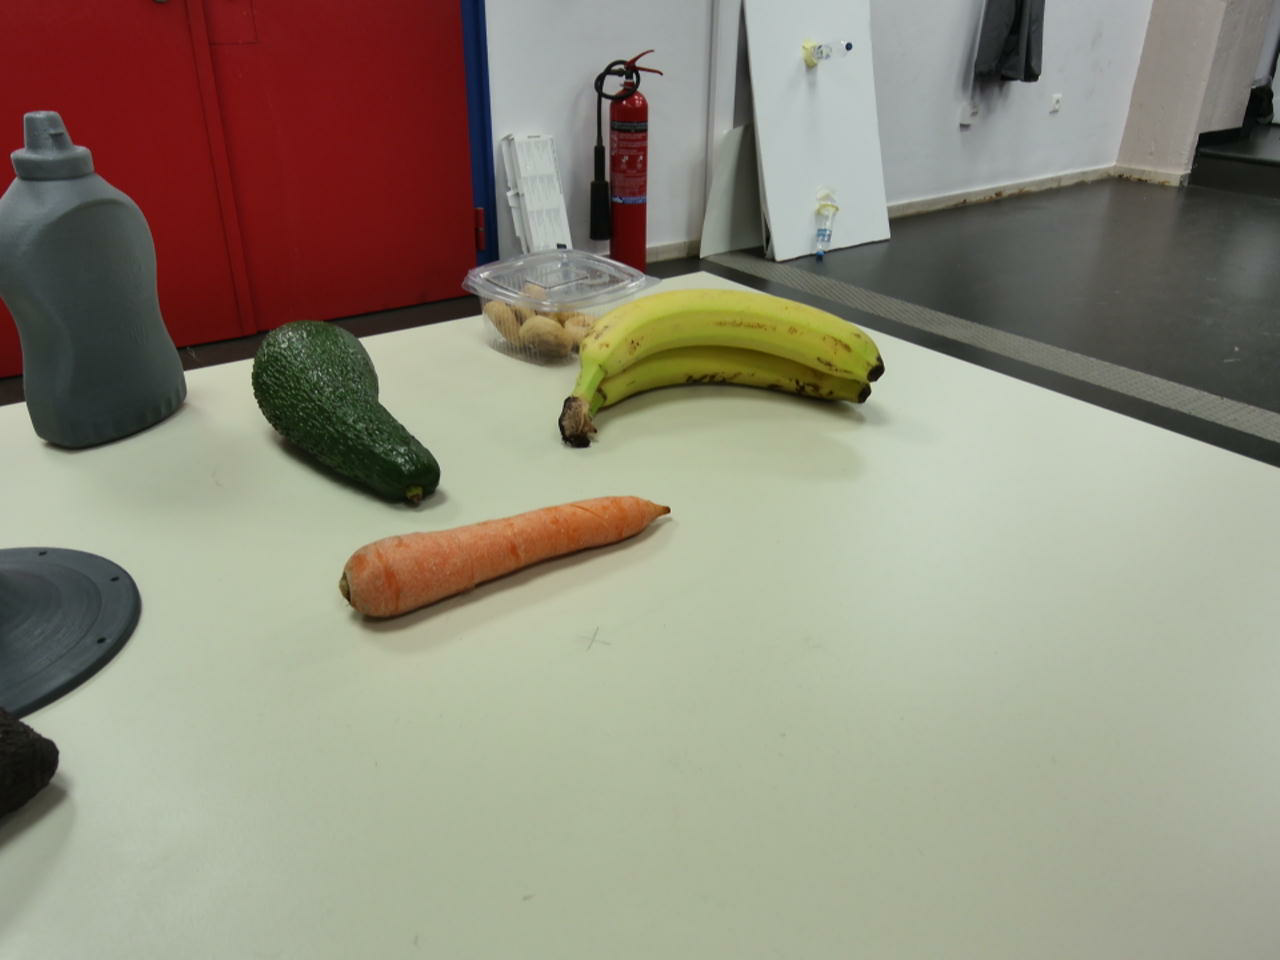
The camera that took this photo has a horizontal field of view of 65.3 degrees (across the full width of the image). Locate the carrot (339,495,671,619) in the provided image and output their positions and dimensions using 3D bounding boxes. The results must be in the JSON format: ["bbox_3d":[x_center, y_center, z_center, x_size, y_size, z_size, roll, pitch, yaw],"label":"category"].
[{"bbox_3d":[-0.063,0.029,0.531,0.196,0.041,0.039,-18,31,-33],"label":"carrot"}]
